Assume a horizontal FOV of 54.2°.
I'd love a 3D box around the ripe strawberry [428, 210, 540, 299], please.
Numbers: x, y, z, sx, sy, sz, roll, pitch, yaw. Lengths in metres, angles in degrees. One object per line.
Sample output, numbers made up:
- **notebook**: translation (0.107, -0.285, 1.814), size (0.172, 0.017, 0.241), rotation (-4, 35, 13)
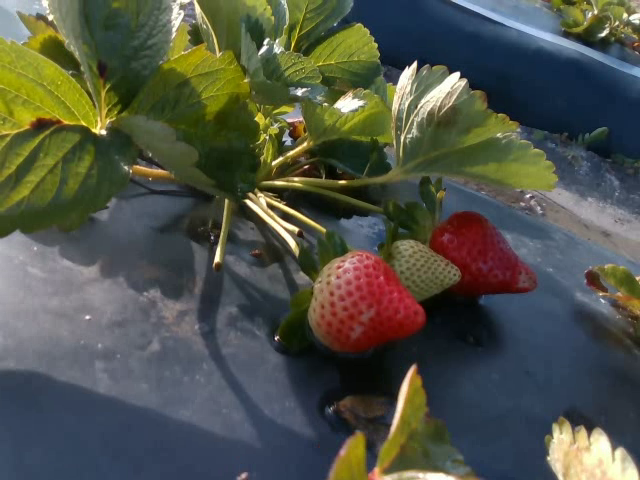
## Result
- **ripe strawberry**: translation (0.084, 0.011, 0.312), size (0.064, 0.048, 0.050), rotation (37, -17, 16)
